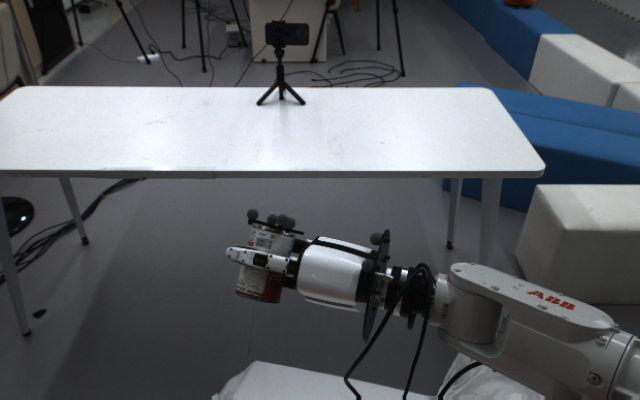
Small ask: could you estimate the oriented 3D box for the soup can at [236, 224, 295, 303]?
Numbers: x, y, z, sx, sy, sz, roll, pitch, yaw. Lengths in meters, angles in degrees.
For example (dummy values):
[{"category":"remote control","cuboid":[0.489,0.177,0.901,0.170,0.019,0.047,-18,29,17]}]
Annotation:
[{"category":"soup can","cuboid":[-0.078,0.095,0.706,0.067,0.101,0.067,13,-6,1]}]
